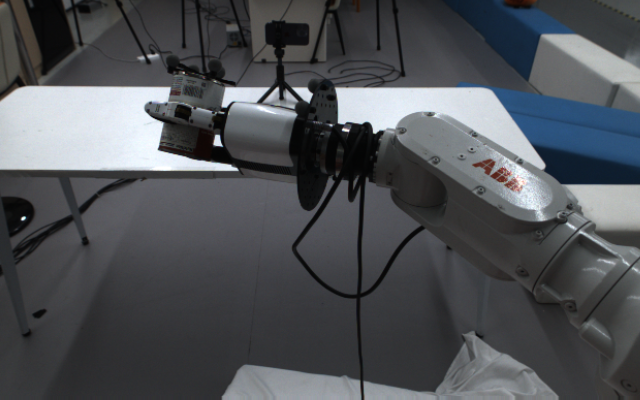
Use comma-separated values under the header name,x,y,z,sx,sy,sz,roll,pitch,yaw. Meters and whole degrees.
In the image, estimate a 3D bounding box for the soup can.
name,x,y,z,sx,sy,sz,roll,pitch,yaw
soup can,-0.166,-0.105,0.626,0.067,0.101,0.067,12,0,0
